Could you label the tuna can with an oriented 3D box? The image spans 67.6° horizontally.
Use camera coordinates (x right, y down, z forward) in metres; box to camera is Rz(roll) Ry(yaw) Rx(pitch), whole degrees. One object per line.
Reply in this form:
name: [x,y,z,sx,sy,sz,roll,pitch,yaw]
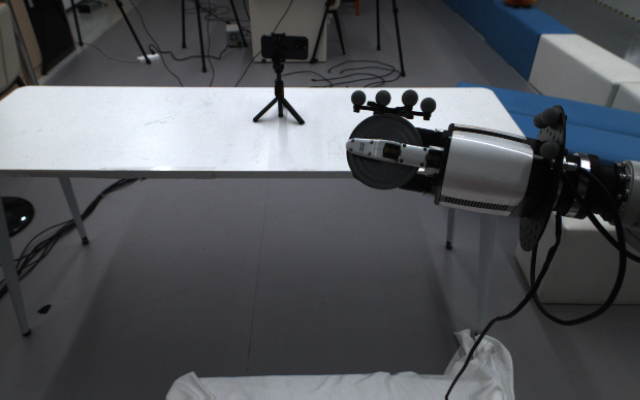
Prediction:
tuna can: [0.076,-0.057,0.556,0.085,0.085,0.034,11,2,12]
